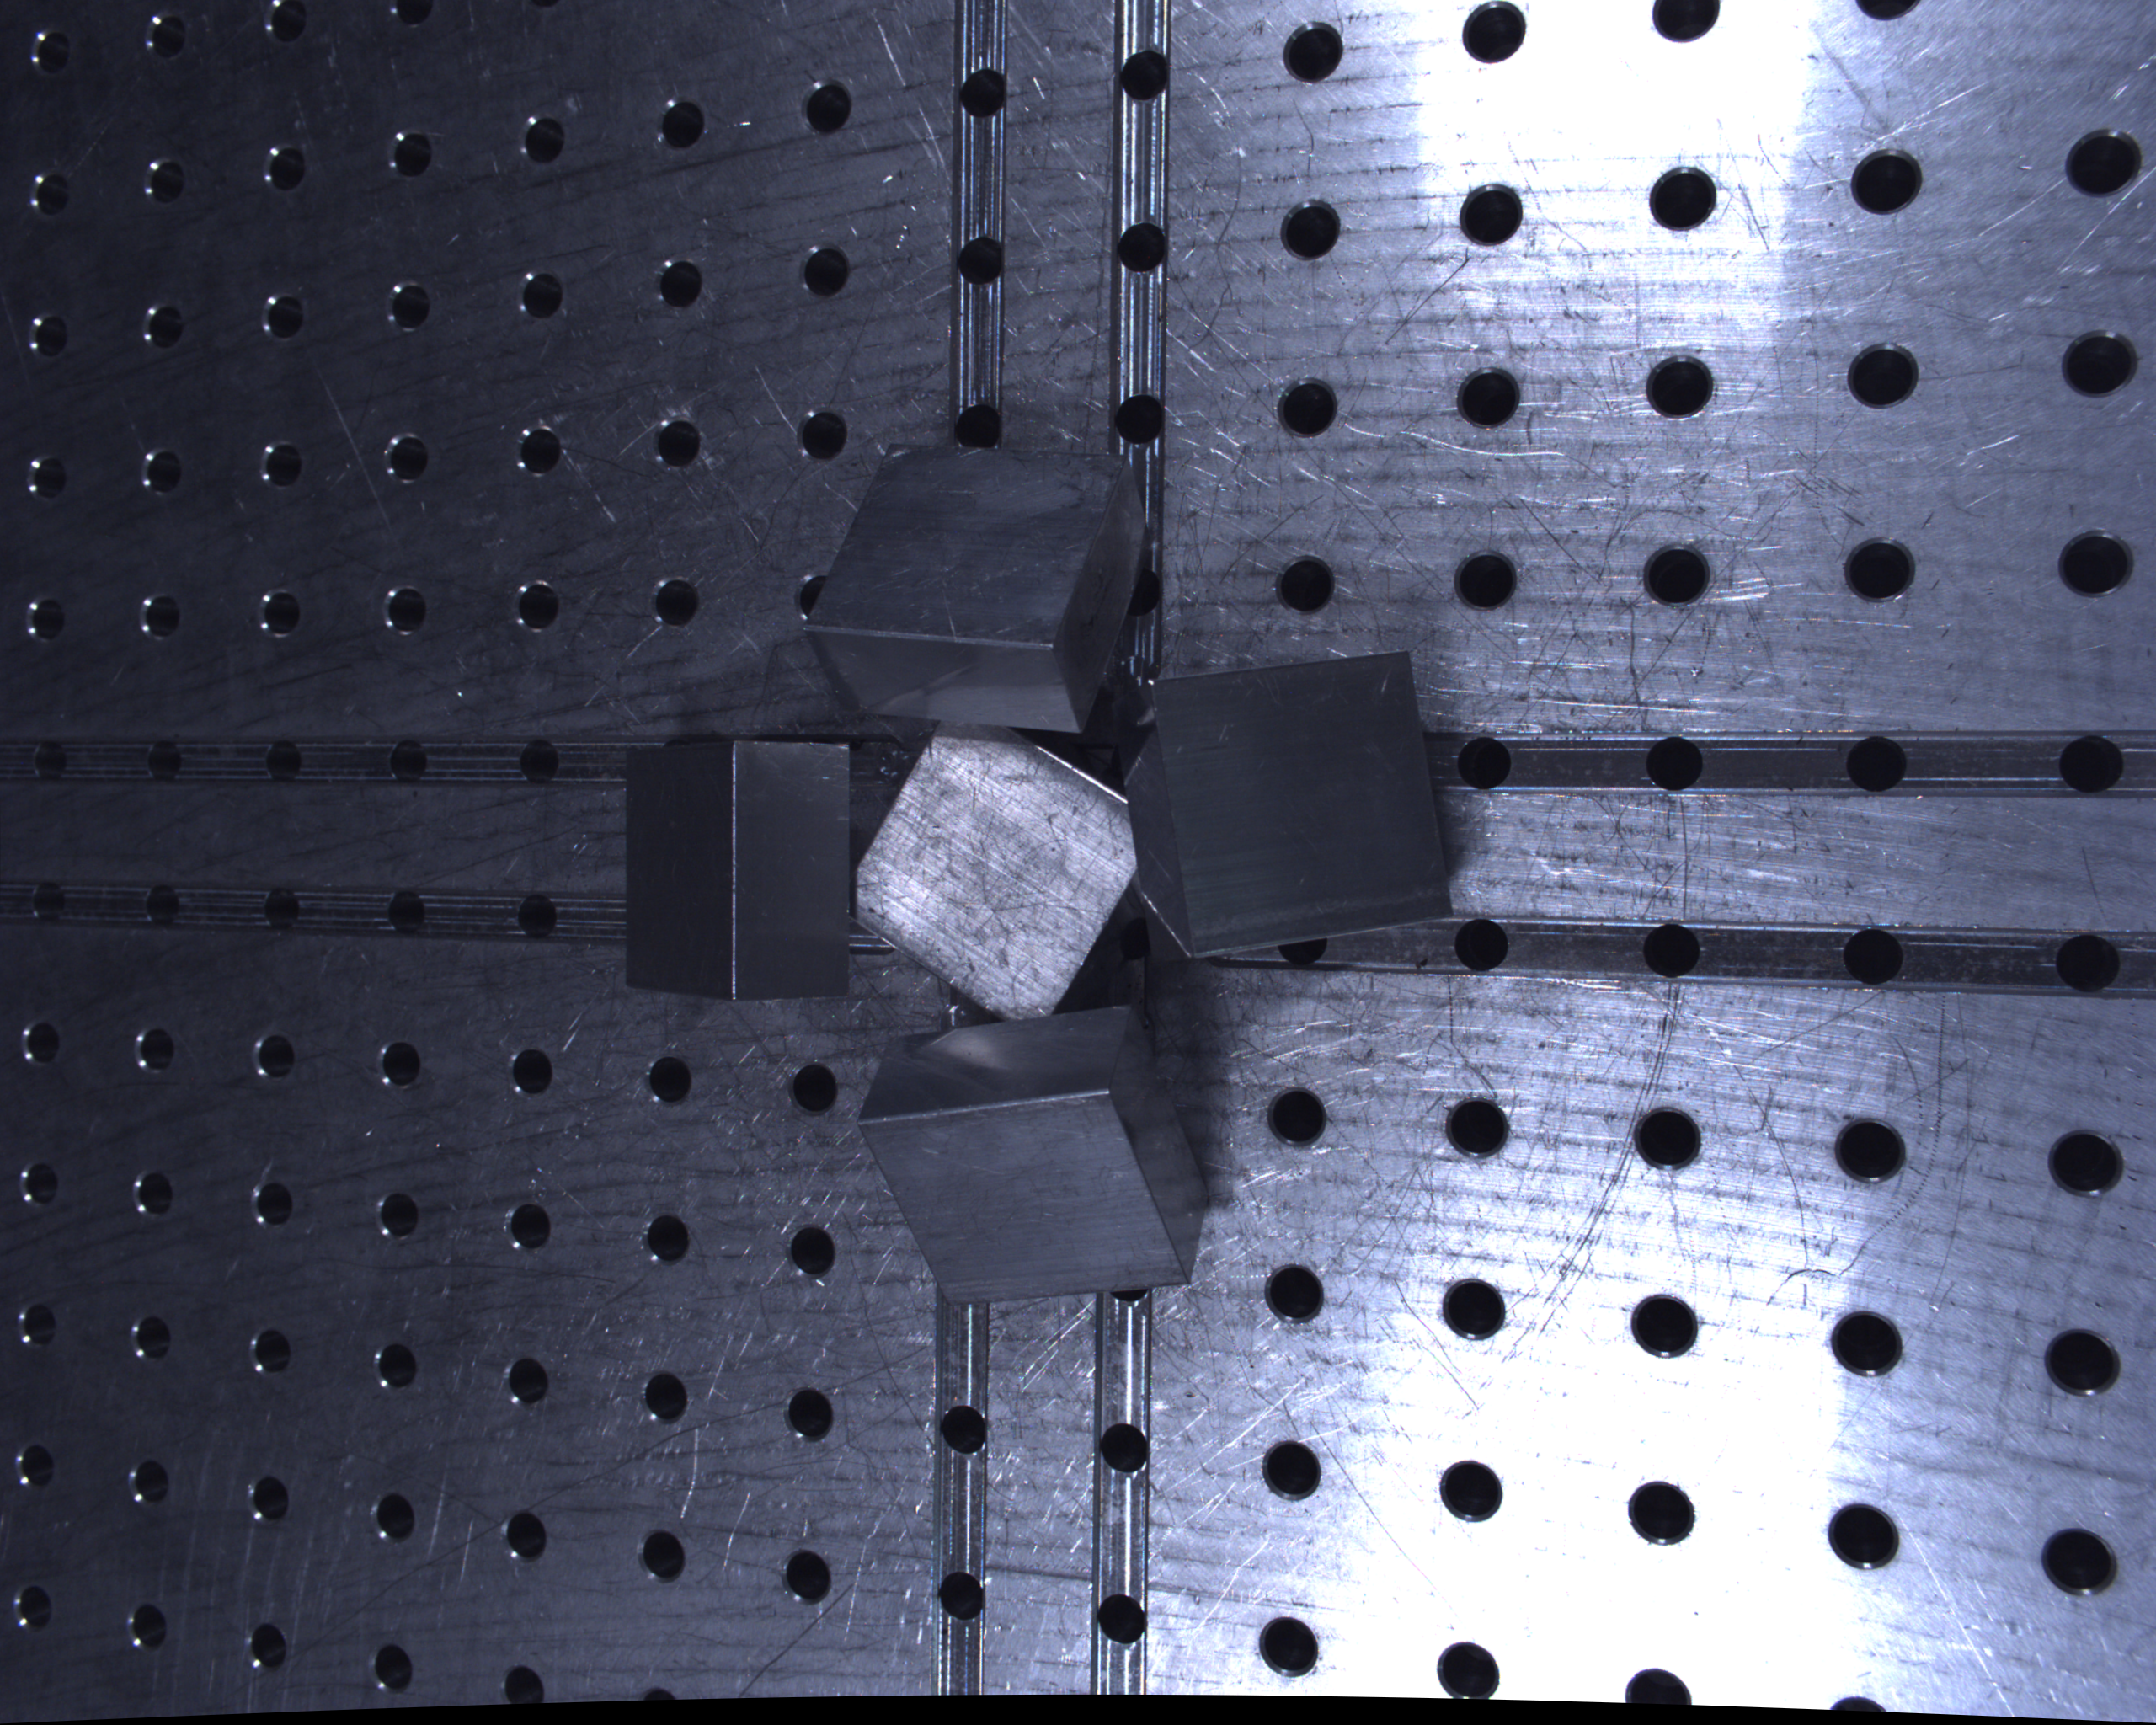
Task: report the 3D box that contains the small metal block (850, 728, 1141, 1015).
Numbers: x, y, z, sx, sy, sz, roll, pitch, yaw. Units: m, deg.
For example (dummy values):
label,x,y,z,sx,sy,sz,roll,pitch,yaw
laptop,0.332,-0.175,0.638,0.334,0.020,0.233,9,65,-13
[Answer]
label,x,y,z,sx,sy,sz,roll,pitch,yaw
small metal block,-0.012,0.001,0.415,0.050,0.025,0.050,33,100,16

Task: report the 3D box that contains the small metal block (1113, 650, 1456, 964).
label,x,y,z,sx,sy,sz,roll,pitch,yaw
small metal block,0.038,-0.010,0.386,0.050,0.025,0.050,-8,86,-16

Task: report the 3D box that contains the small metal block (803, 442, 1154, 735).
label,x,y,z,sx,sy,sz,roll,pitch,yaw
small metal block,-0.018,-0.054,0.405,0.050,0.025,0.050,7,56,20

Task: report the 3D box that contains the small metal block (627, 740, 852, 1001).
label,x,y,z,sx,sy,sz,roll,pitch,yaw
small metal block,-0.069,0.001,0.423,0.050,0.025,0.050,0,90,54

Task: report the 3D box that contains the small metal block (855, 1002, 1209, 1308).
label,x,y,z,sx,sy,sz,roll,pitch,yaw
small metal block,-0.008,0.057,0.401,0.050,0.025,0.050,-10,123,19
